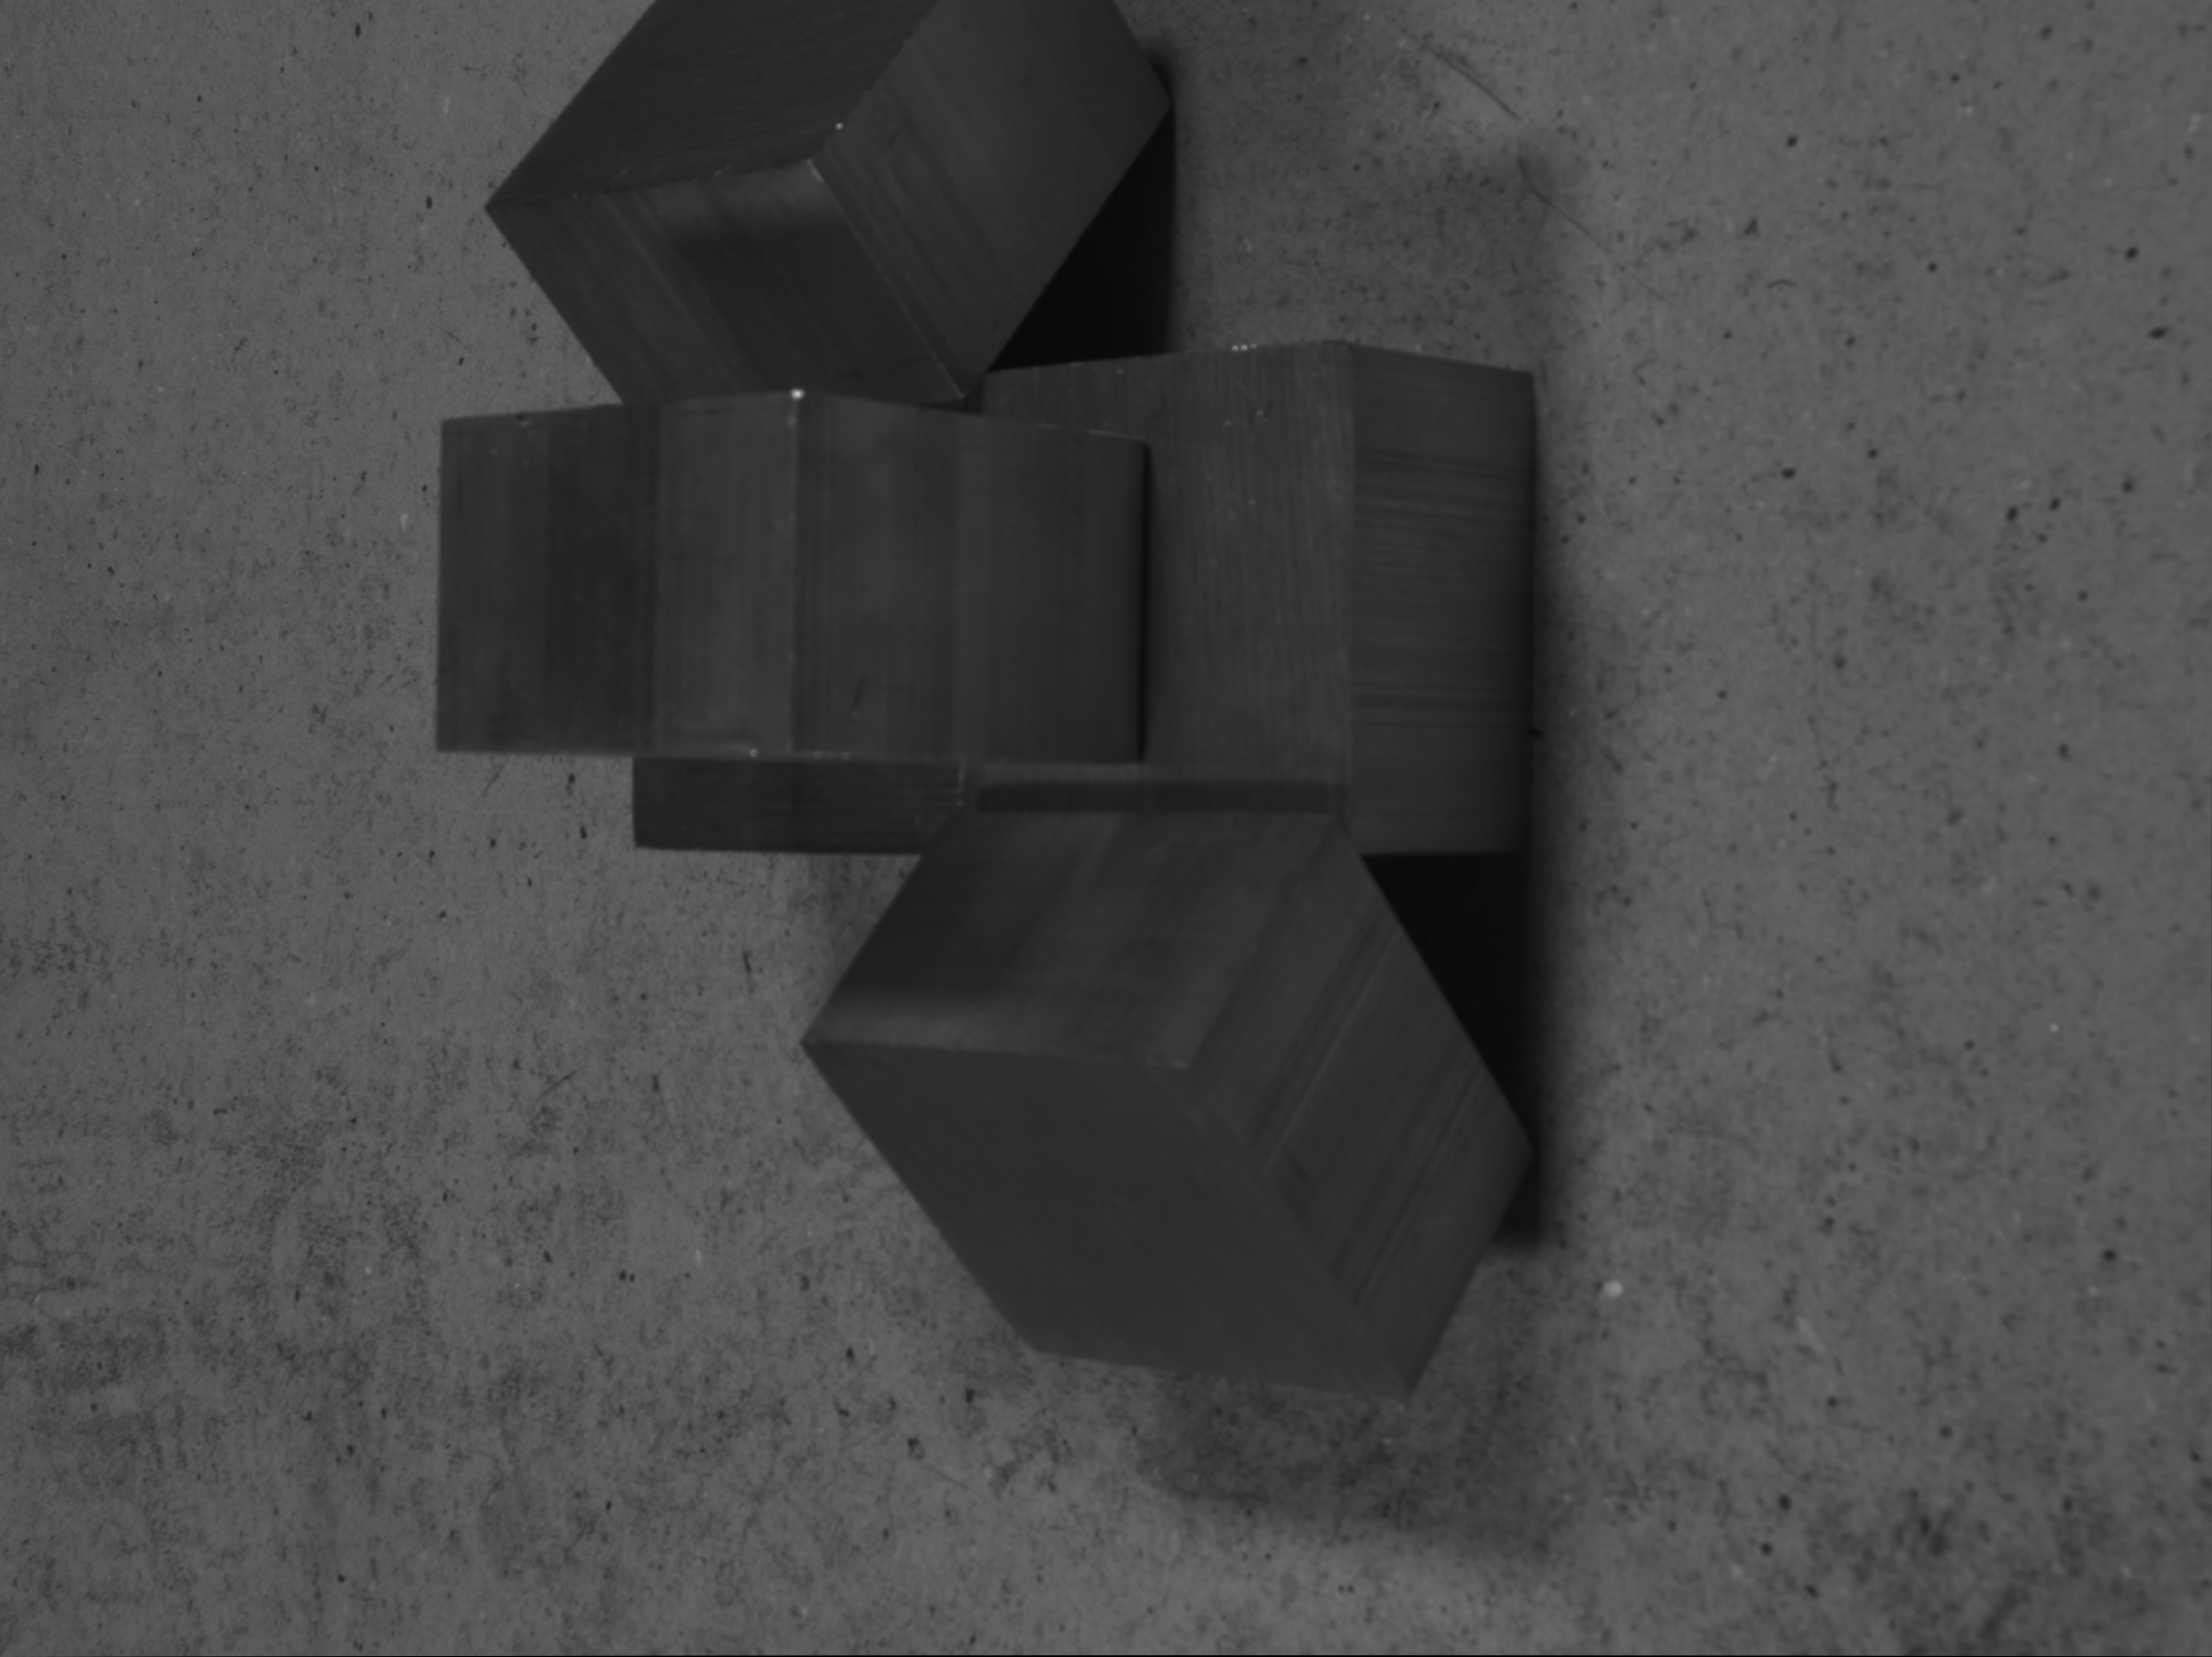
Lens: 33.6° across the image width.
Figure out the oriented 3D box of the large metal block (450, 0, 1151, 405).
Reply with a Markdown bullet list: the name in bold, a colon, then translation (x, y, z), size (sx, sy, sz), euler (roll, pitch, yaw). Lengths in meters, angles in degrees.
- **large metal block**: translation (-0.052, -0.117, 0.637), size (0.080, 0.050, 0.080), euler (1, 46, 40)

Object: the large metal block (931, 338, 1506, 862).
- **large metal block**: translation (0.018, -0.035, 0.604), size (0.080, 0.050, 0.080), euler (1, 90, 39)

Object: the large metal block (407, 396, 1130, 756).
- **large metal block**: translation (-0.053, -0.038, 0.580), size (0.080, 0.080, 0.050), euler (2, 91, 39)

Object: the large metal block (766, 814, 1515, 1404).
- **large metal block**: translation (0.007, 0.044, 0.587), size (0.080, 0.080, 0.050), euler (0, 46, 39)

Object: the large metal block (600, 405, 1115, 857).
- **large metal block**: translation (-0.044, -0.035, 0.654), size (0.080, 0.050, 0.080), euler (1, 90, 39)
